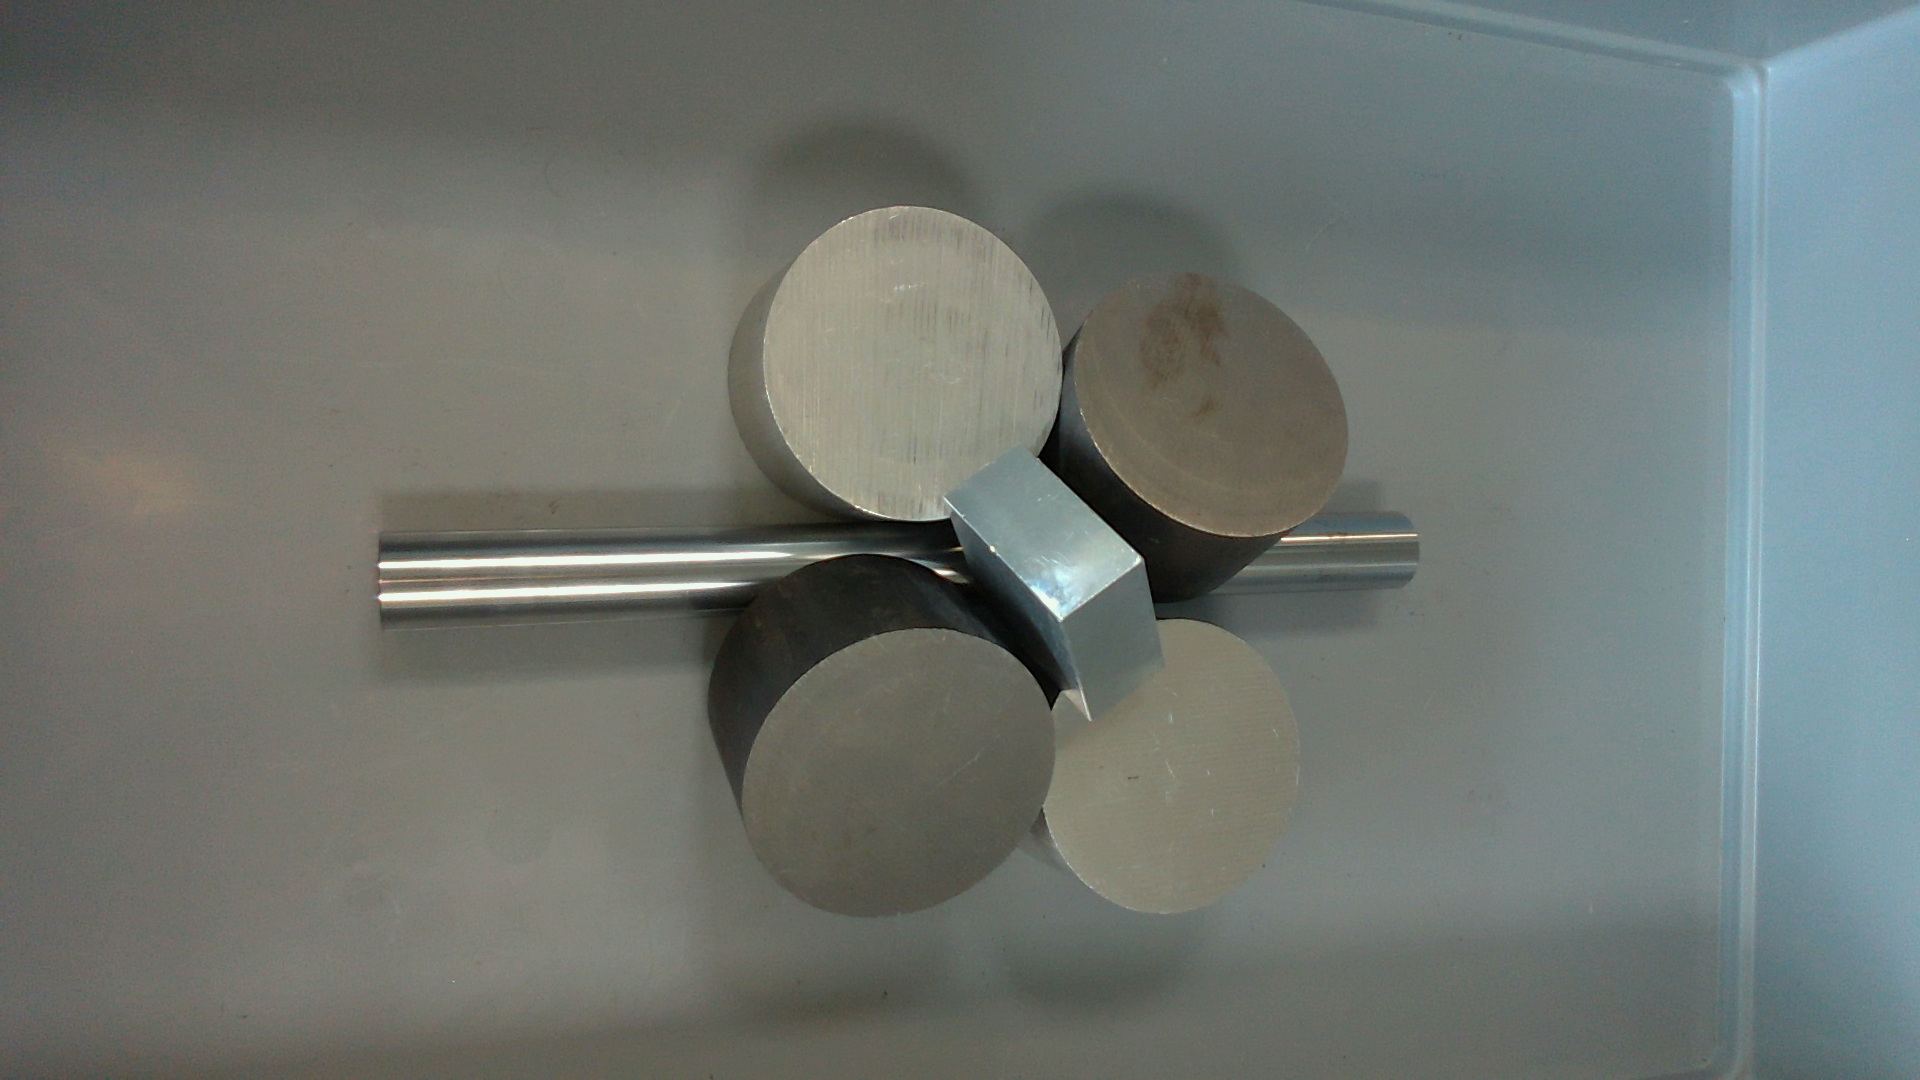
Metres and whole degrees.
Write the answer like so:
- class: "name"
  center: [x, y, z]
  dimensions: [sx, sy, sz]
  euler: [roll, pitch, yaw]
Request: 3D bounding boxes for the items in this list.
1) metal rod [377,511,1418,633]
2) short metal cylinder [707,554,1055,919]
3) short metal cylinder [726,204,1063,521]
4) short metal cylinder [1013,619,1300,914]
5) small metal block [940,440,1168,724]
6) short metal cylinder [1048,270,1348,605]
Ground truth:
- class: "metal rod"
  center: [-0.002, 0.007, 0.391]
  dimensions: [0.301, 0.025, 0.025]
  euler: [-2, 91, -20]
- class: "short metal cylinder"
  center: [-0.022, 0.050, 0.358]
  dimensions: [0.080, 0.050, 0.080]
  euler: [-7, 113, -18]
- class: "short metal cylinder"
  center: [-0.019, -0.045, 0.372]
  dimensions: [0.080, 0.050, 0.080]
  euler: [0, 90, -20]
- class: "short metal cylinder"
  center: [0.050, 0.062, 0.397]
  dimensions: [0.080, 0.050, 0.080]
  euler: [0, 90, -20]
- class: "small metal block"
  center: [0.024, 0.011, 0.350]
  dimensions: [0.025, 0.050, 0.050]
  euler: [-35, 144, -10]
- class: "short metal cylinder"
  center: [0.060, -0.028, 0.387]
  dimensions: [0.080, 0.050, 0.080]
  euler: [8, 65, -16]
